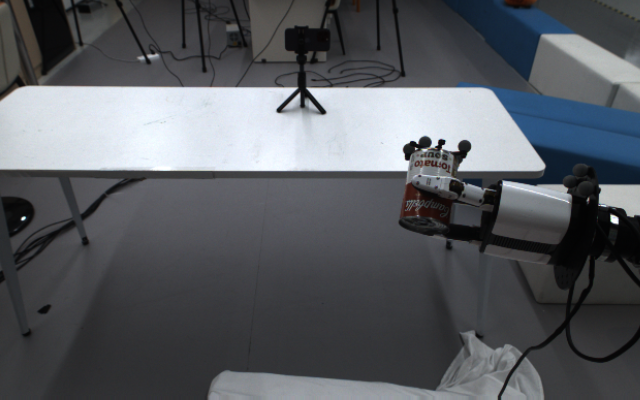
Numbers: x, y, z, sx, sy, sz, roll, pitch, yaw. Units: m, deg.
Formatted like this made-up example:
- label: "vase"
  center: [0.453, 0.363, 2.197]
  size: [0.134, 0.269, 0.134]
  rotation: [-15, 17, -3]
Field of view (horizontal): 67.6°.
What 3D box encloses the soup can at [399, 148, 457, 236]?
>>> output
- label: "soup can"
  center: [0.149, -0.014, 0.657]
  size: [0.067, 0.067, 0.101]
  rotation: [9, 72, 10]
